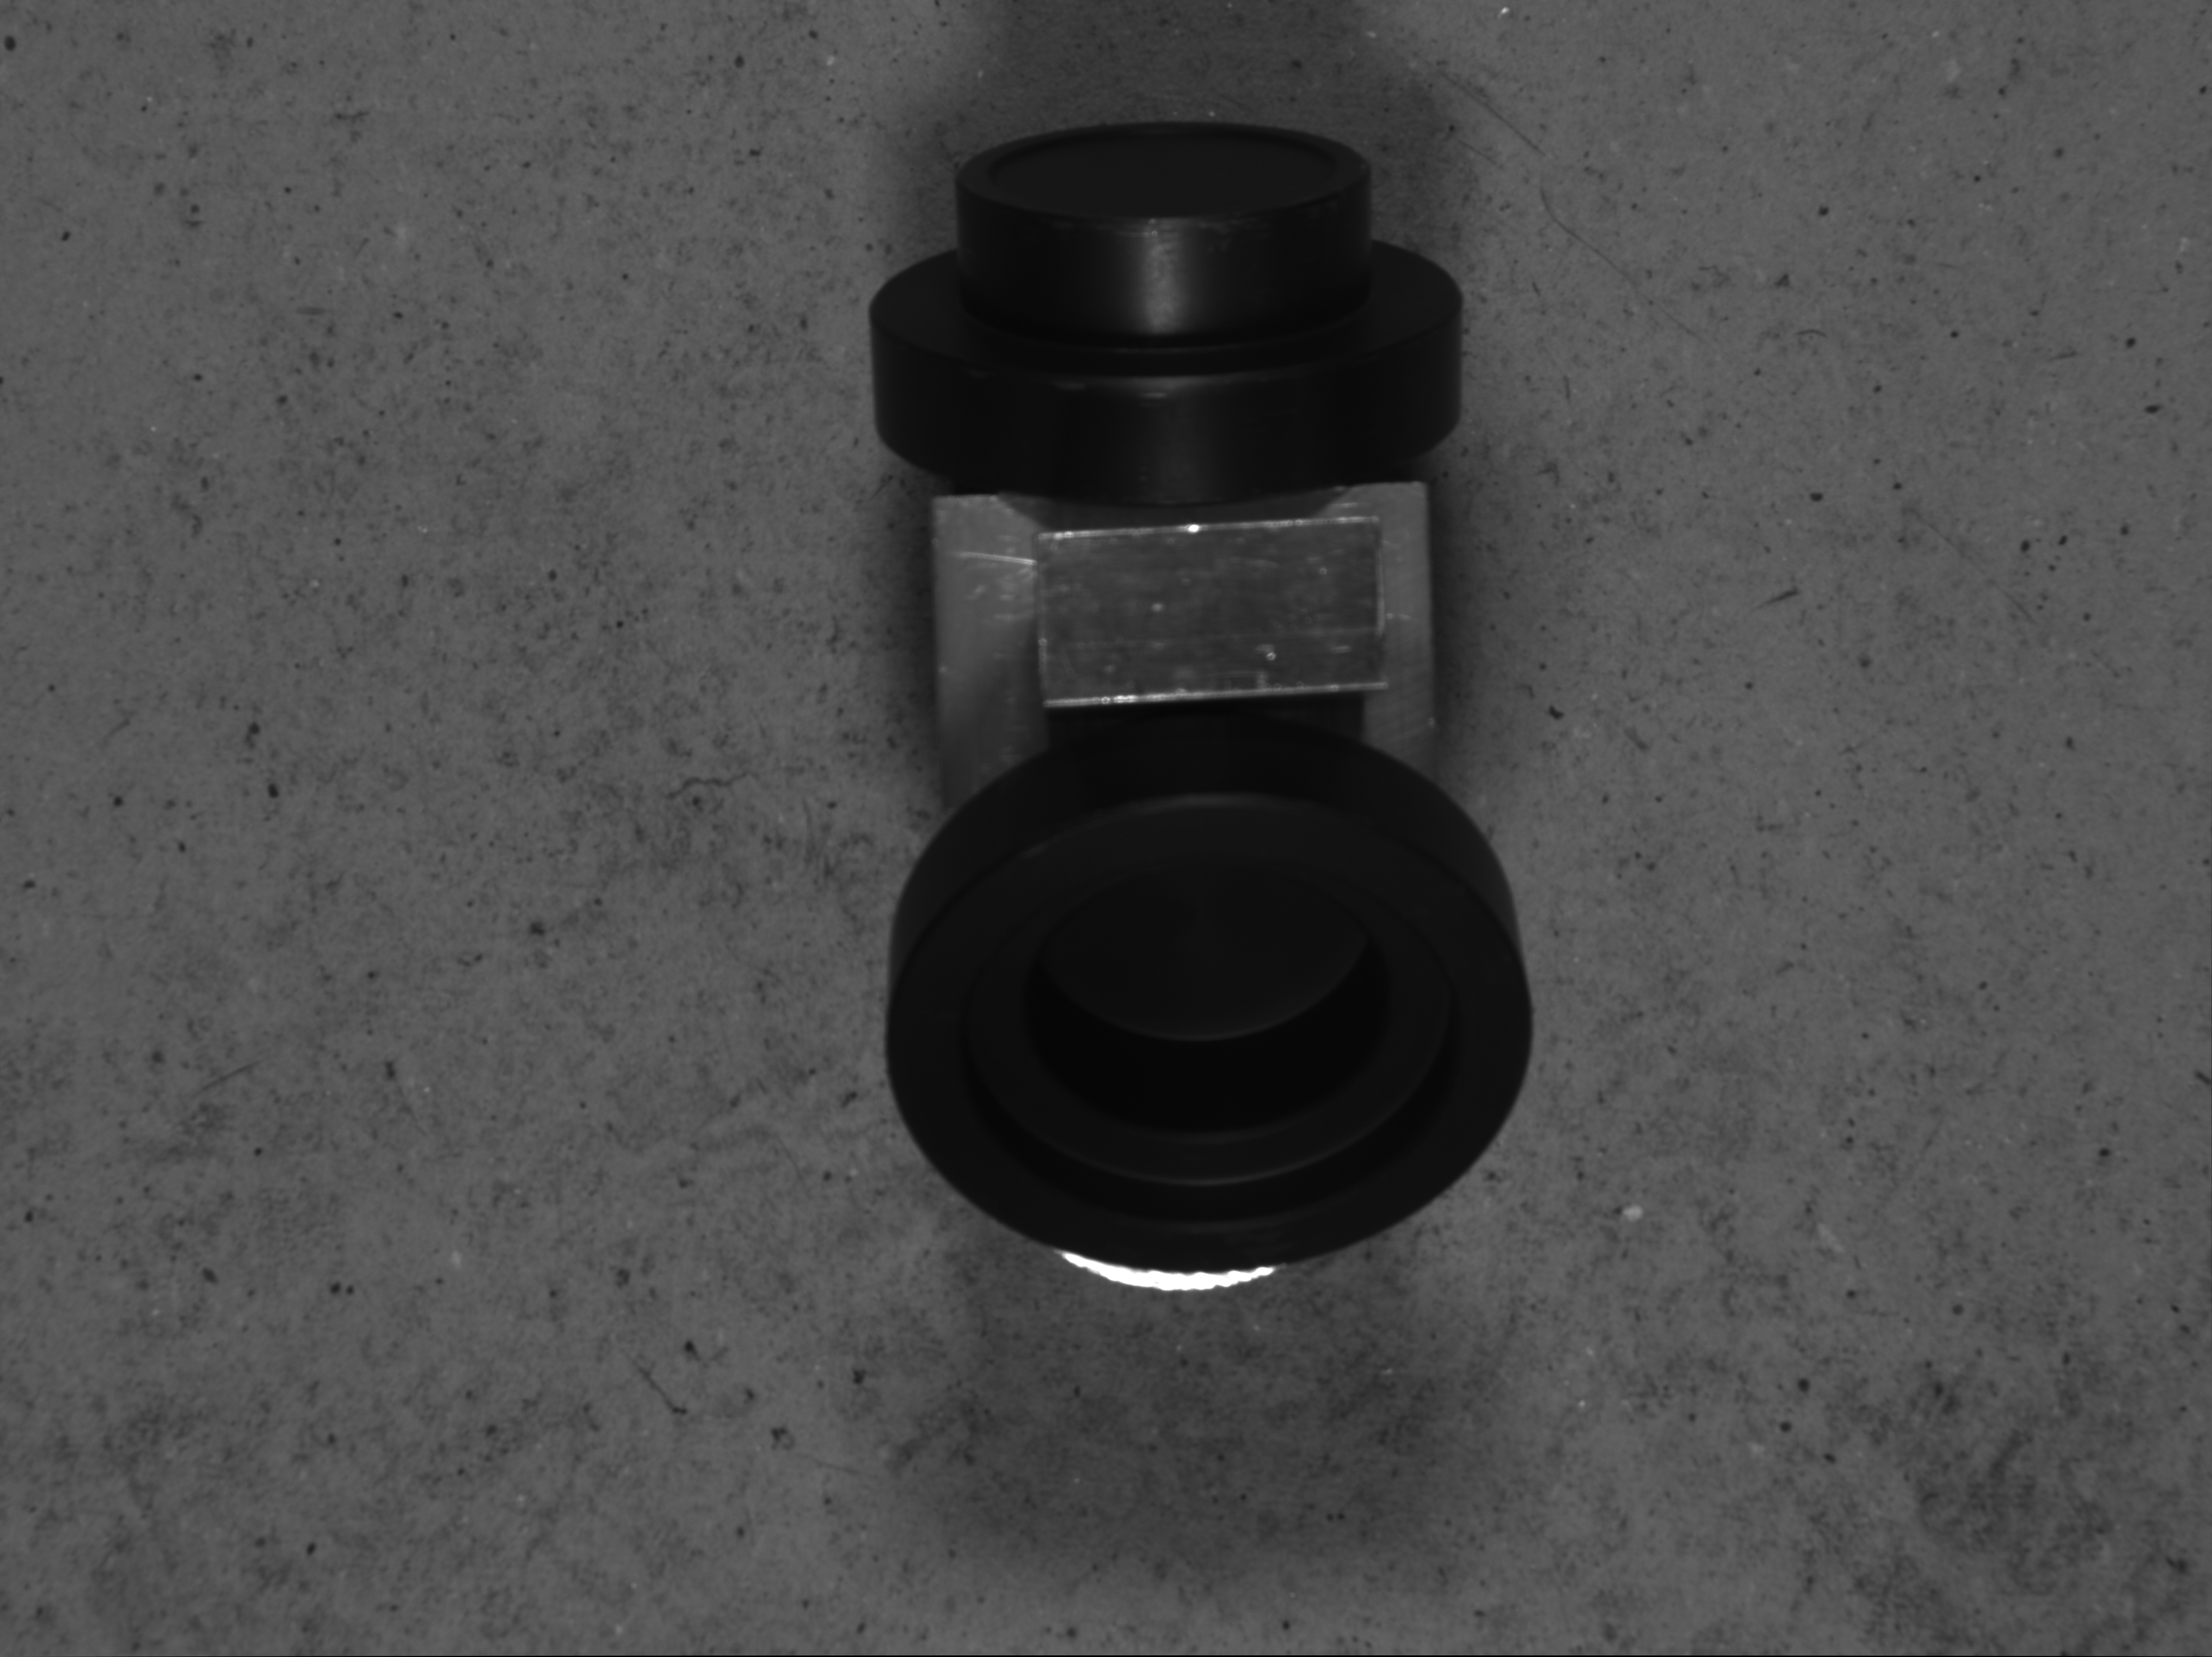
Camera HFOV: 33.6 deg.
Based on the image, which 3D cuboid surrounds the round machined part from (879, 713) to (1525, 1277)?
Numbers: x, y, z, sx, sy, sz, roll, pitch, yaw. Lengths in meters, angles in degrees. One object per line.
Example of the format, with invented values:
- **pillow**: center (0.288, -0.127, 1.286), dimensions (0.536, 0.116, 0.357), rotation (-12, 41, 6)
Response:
- **round machined part**: center (0.014, 0.021, 0.571), dimensions (0.098, 0.042, 0.098), rotation (-1, 128, -1)

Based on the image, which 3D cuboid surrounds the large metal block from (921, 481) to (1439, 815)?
- **large metal block**: center (0.012, -0.028, 0.617), dimensions (0.080, 0.080, 0.050), rotation (-2, 90, 0)

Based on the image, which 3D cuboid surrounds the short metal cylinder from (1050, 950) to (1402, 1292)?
- **short metal cylinder**: center (0.012, 0.037, 0.634), dimensions (0.080, 0.050, 0.080), rotation (0, 90, 0)

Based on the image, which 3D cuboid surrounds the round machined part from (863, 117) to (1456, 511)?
- **round machined part**: center (0.009, -0.089, 0.605), dimensions (0.098, 0.098, 0.042), rotation (-2, 115, 0)

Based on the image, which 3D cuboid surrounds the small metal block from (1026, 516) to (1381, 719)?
- **small metal block**: center (0.014, -0.031, 0.552), dimensions (0.050, 0.050, 0.025), rotation (-3, 89, 0)
